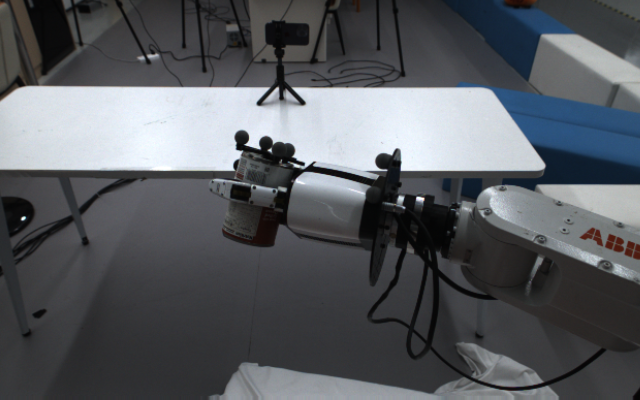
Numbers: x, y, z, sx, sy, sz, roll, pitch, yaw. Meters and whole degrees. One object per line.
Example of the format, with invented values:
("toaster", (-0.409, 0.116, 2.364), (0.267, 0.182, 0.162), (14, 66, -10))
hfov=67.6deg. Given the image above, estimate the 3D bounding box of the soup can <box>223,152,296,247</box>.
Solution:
("soup can", (-0.074, -0.001, 0.587), (0.067, 0.101, 0.067), (15, 7, -2))
